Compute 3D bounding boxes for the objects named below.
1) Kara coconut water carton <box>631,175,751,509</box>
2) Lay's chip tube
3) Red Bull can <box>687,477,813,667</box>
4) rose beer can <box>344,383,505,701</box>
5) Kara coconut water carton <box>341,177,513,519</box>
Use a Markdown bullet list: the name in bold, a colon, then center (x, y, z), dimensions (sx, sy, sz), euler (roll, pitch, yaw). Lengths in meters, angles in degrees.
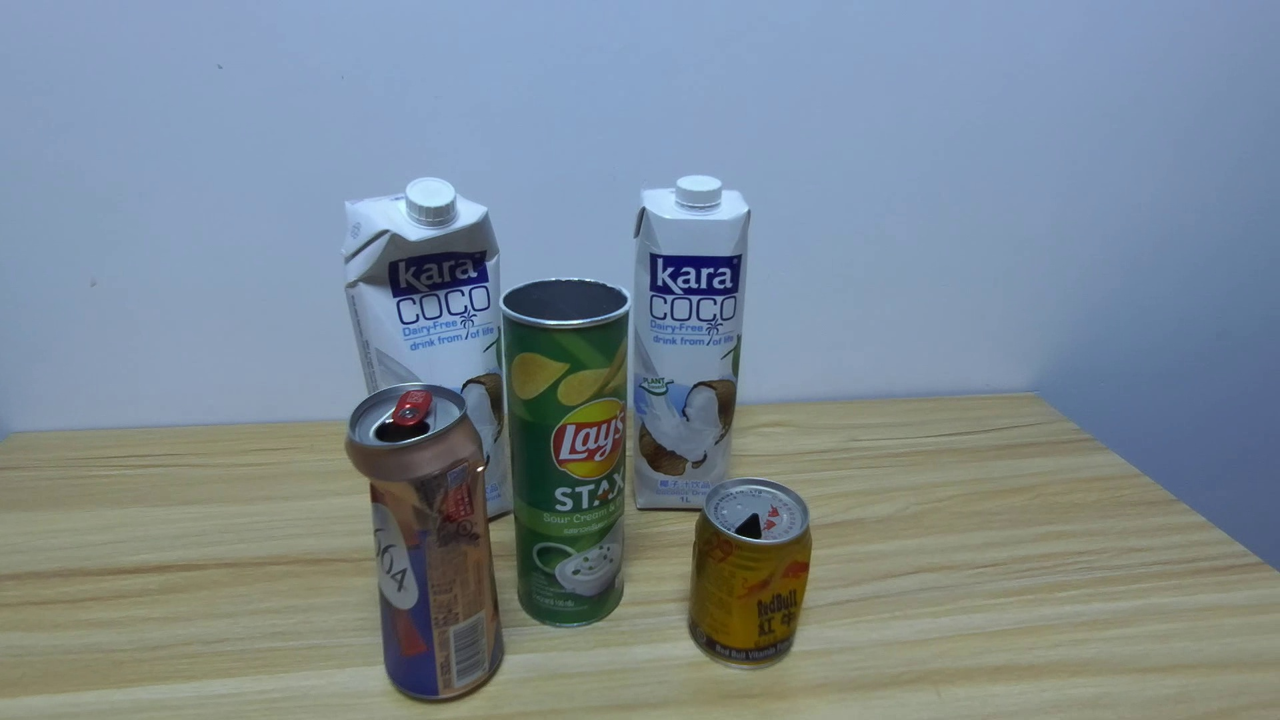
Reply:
- **Kara coconut water carton**: center (0.033, -0.009, 0.510), dimensions (0.077, 0.245, 0.075), euler (1, 24, 0)
- **Lay's chip tube**: center (-0.041, 0.057, 0.417), dimensions (0.071, 0.202, 0.071), euler (1, 25, 0)
- **Red Bull can**: center (0.063, 0.123, 0.411), dimensions (0.069, 0.092, 0.069), euler (2, 25, -1)
- **rose beer can**: center (-0.111, 0.098, 0.370), dimensions (0.065, 0.167, 0.075), euler (-13, 31, -23)
- **Kara coconut water carton**: center (-0.138, -0.001, 0.487), dimensions (0.100, 0.244, 0.071), euler (-23, 34, -36)
